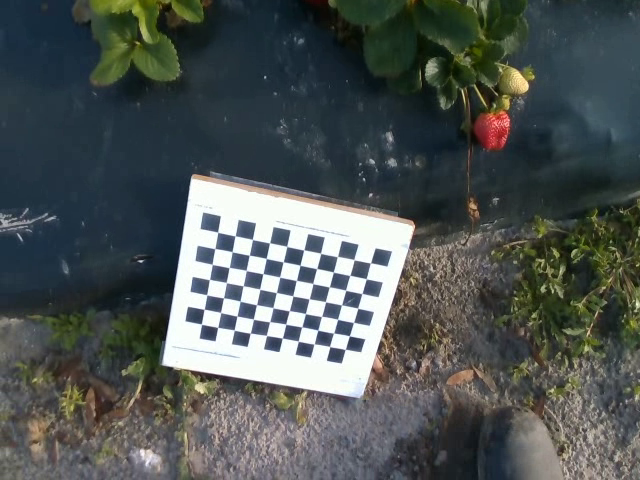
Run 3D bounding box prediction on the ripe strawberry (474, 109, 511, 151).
[{"bbox_3d":[0.220,-0.135,0.723,0.047,0.050,0.035,-8,16,1],"label":"ripe strawberry"}]
